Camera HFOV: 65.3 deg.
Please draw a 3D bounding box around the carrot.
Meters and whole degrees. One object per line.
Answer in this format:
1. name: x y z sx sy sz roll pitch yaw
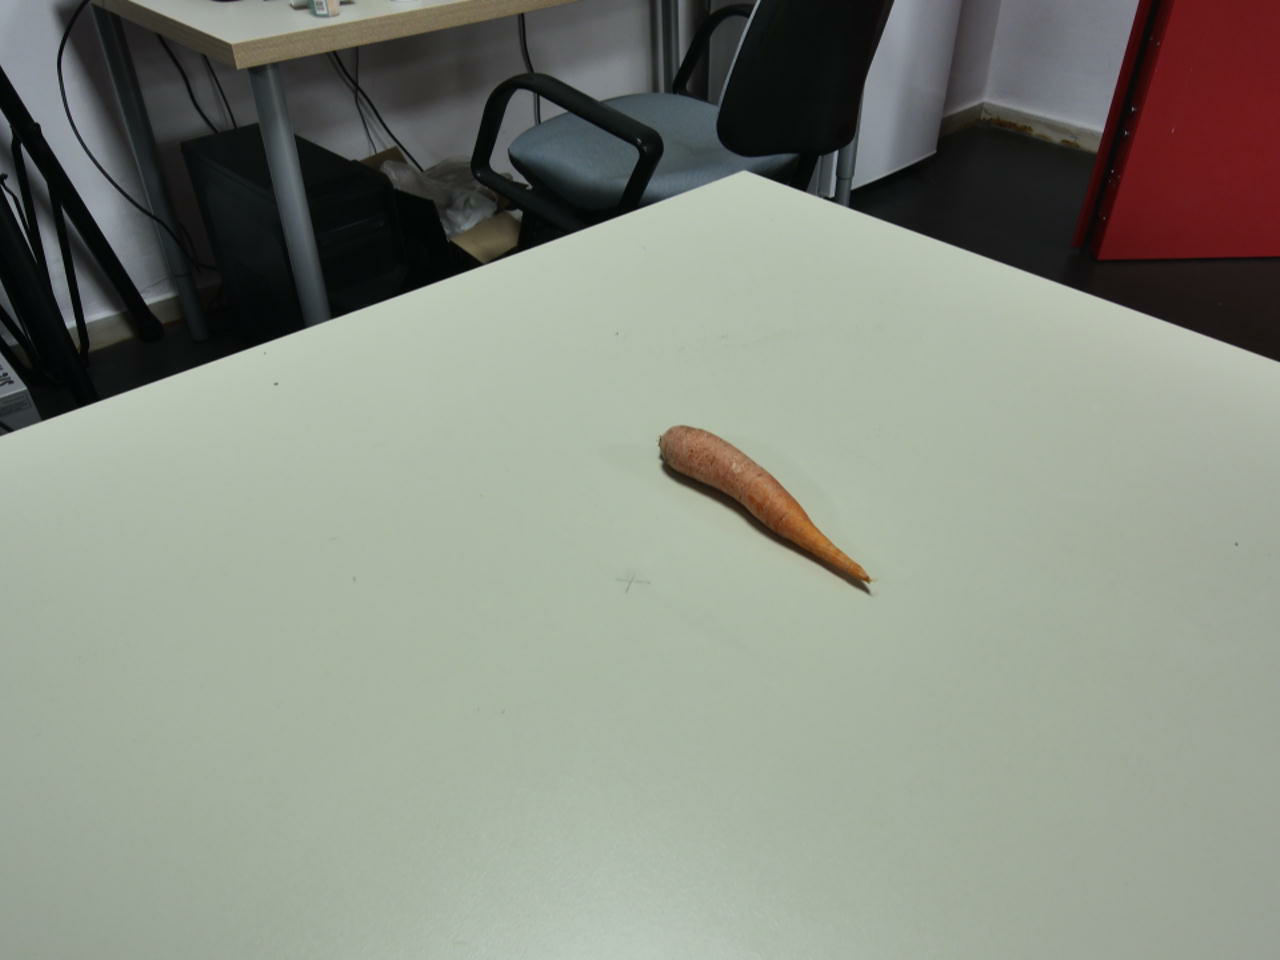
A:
1. carrot: 0.068 0.008 0.555 0.031 0.029 0.163 -26 44 -31
